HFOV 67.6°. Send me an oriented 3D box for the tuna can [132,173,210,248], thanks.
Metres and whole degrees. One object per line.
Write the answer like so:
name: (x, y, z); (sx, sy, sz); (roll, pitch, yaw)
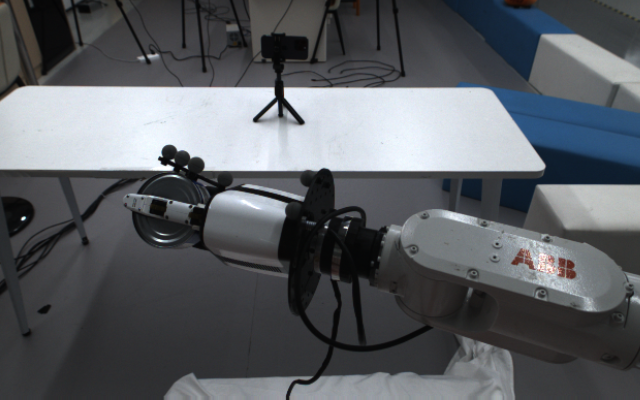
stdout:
tuna can: (-0.163, 0.013, 0.549); (0.085, 0.085, 0.034); (13, -6, 16)
